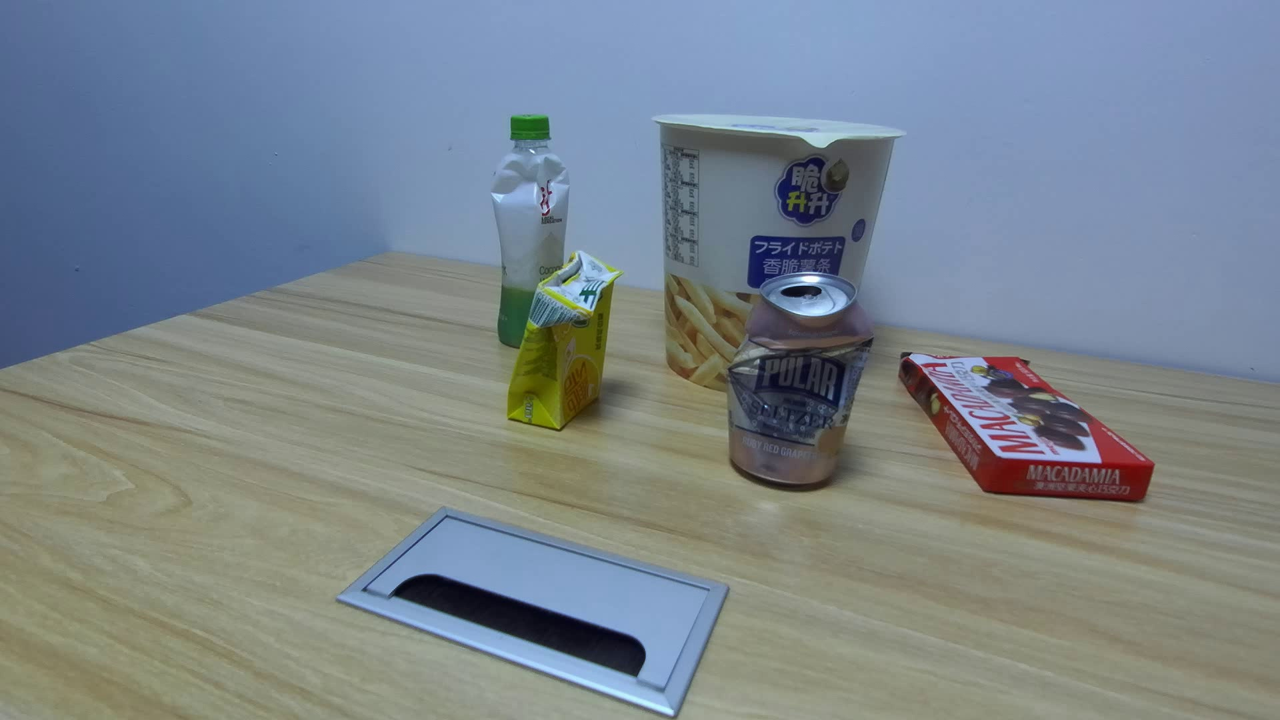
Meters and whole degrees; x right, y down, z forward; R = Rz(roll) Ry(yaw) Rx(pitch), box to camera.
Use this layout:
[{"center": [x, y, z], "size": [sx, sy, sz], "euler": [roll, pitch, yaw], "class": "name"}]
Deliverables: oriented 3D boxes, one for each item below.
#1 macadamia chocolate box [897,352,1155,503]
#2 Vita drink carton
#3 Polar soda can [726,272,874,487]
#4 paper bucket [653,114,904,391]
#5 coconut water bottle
[{"center": [0.262, 0.038, 0.502], "size": [0.106, 0.028, 0.183], "euler": [3, 21, 2], "class": "macadamia chocolate box"}, {"center": [-0.048, -0.011, 0.479], "size": [0.042, 0.108, 0.087], "euler": [24, 31, 14], "class": "Vita drink carton"}, {"center": [0.088, 0.015, 0.413], "size": [0.071, 0.122, 0.066], "euler": [-8, 28, -23], "class": "Polar soda can"}, {"center": [0.099, -0.088, 0.566], "size": [0.198, 0.194, 0.198], "euler": [2, 23, 0], "class": "paper bucket"}, {"center": [-0.092, -0.105, 0.595], "size": [0.069, 0.186, 0.069], "euler": [0, 17, 0], "class": "coconut water bottle"}]
